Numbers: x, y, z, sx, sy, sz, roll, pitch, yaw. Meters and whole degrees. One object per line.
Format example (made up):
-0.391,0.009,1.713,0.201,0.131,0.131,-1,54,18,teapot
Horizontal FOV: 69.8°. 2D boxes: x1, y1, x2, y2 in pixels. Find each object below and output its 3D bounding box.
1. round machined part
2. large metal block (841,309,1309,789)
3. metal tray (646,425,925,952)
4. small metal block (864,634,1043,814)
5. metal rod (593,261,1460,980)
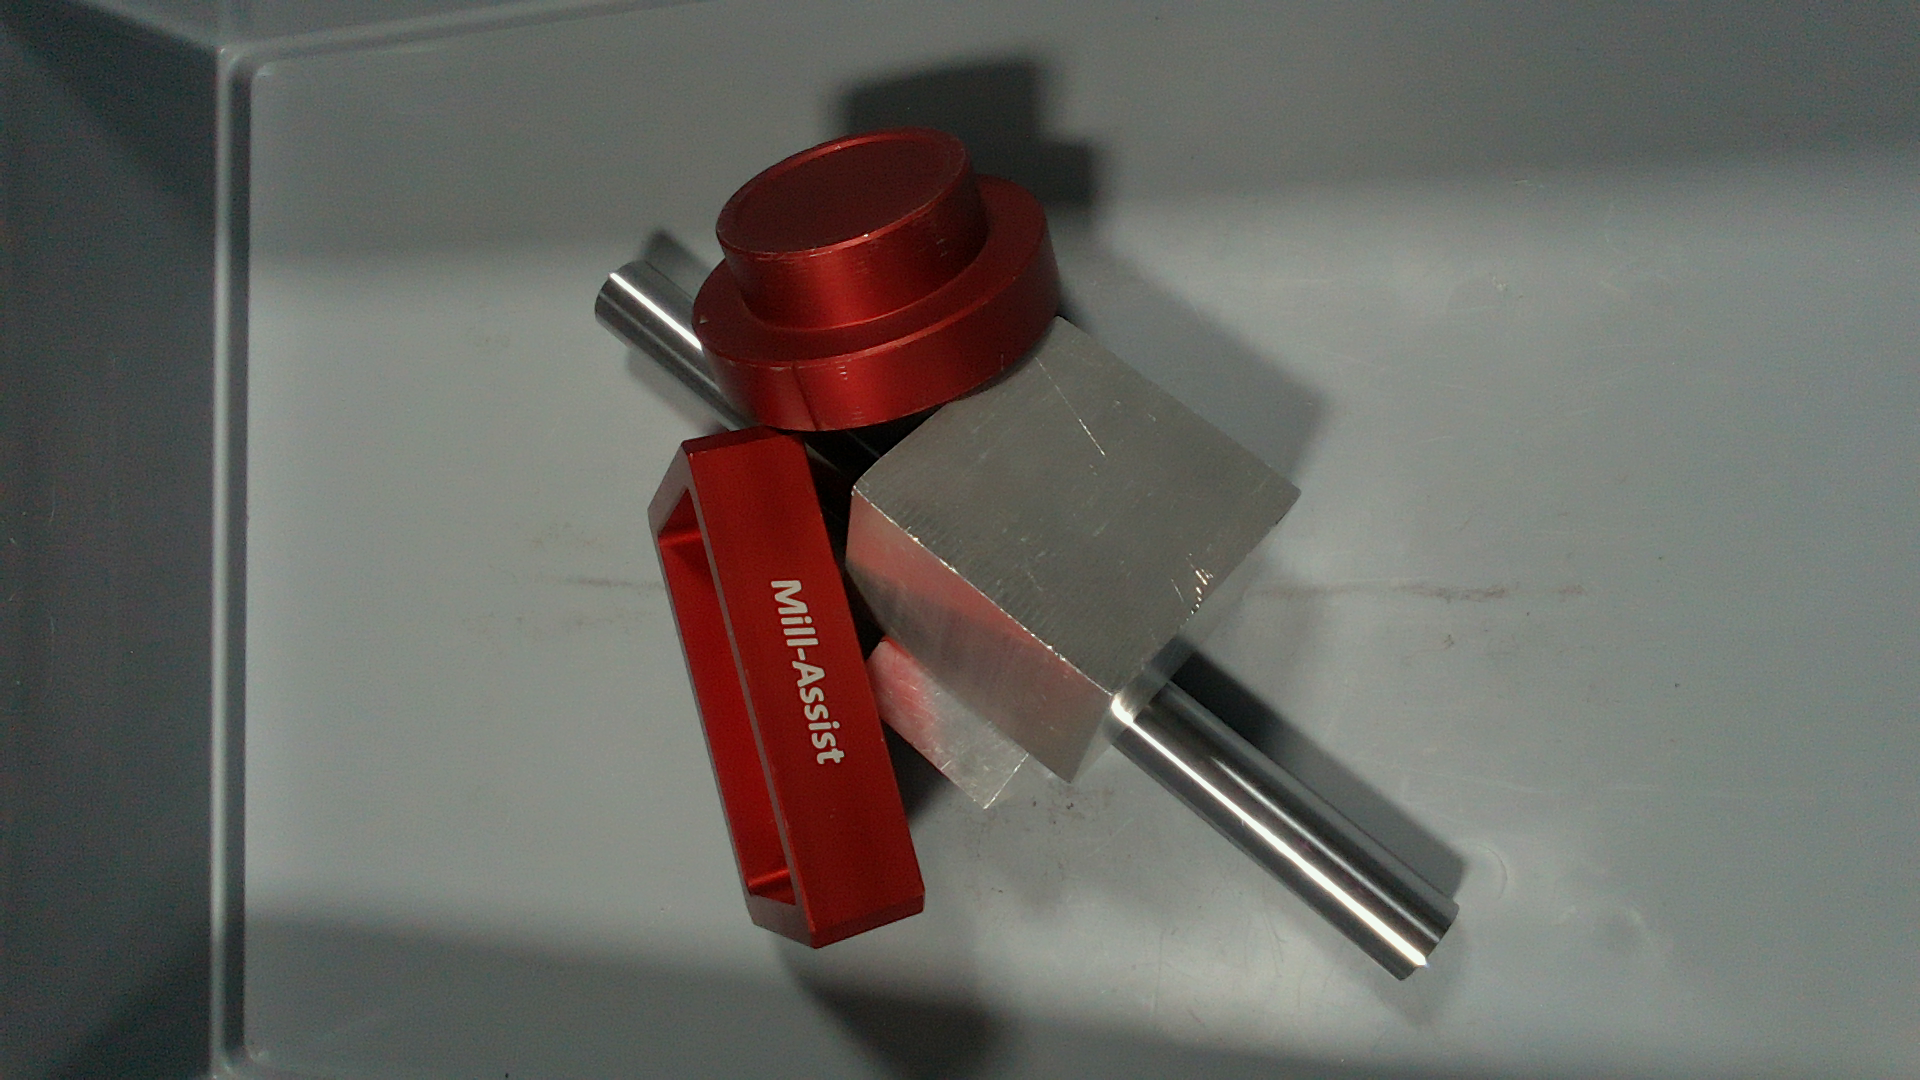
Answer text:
-0.025,-0.074,0.363,0.098,0.098,0.042,-2,130,20,round machined part
0.027,0.001,0.351,0.080,0.050,0.080,39,60,16,large metal block
-0.052,0.042,0.381,0.030,0.090,0.130,-13,84,-21,metal tray
0.004,0.045,0.380,0.050,0.050,0.025,40,103,16,small metal block
0.007,0.013,0.392,0.299,0.025,0.025,39,102,16,metal rod
